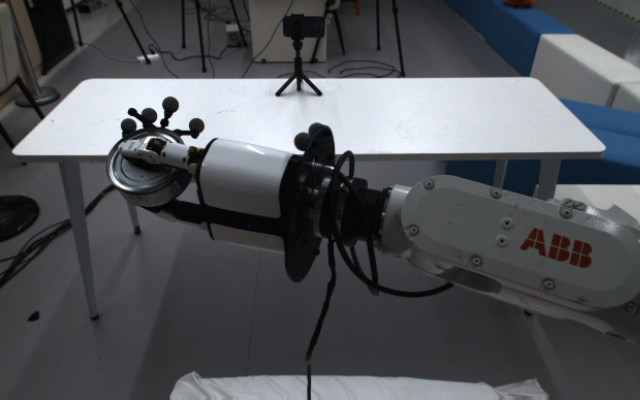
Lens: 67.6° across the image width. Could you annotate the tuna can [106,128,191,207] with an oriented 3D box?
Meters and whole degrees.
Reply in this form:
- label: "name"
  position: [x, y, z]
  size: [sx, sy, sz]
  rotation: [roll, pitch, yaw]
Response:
- label: "tuna can"
  position: [-0.181, -0.035, 0.528]
  size: [0.085, 0.034, 0.085]
  rotation: [-2, 58, 2]
